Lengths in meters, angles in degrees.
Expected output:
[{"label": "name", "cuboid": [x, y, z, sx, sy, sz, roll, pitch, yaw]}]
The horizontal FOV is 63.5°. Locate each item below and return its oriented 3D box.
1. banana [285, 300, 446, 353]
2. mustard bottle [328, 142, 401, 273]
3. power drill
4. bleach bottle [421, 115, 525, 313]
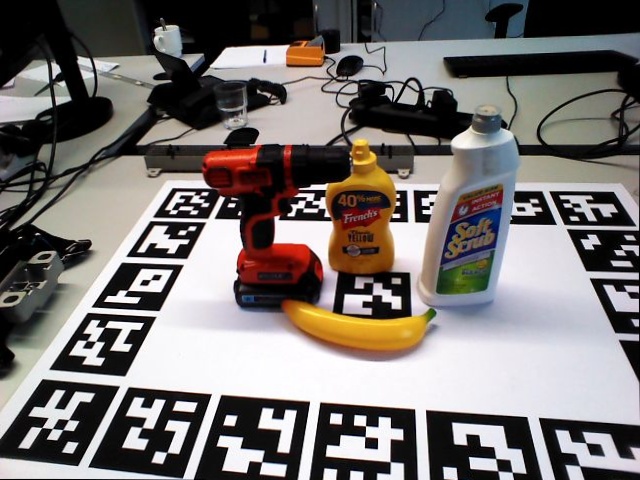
[{"label": "banana", "cuboid": [0.050, 0.100, 0.622, 0.198, 0.039, 0.074, 2, 41, 12]}, {"label": "mustard bottle", "cuboid": [0.059, -0.045, 0.691, 0.096, 0.192, 0.058, 2, 37, 8]}, {"label": "power drill", "cuboid": [-0.051, -0.026, 0.647, 0.185, 0.187, 0.057, 1, 30, 4]}, {"label": "bleach bottle", "cuboid": [0.179, -0.024, 0.613, 0.103, 0.251, 0.067, -4, 38, 2]}]
